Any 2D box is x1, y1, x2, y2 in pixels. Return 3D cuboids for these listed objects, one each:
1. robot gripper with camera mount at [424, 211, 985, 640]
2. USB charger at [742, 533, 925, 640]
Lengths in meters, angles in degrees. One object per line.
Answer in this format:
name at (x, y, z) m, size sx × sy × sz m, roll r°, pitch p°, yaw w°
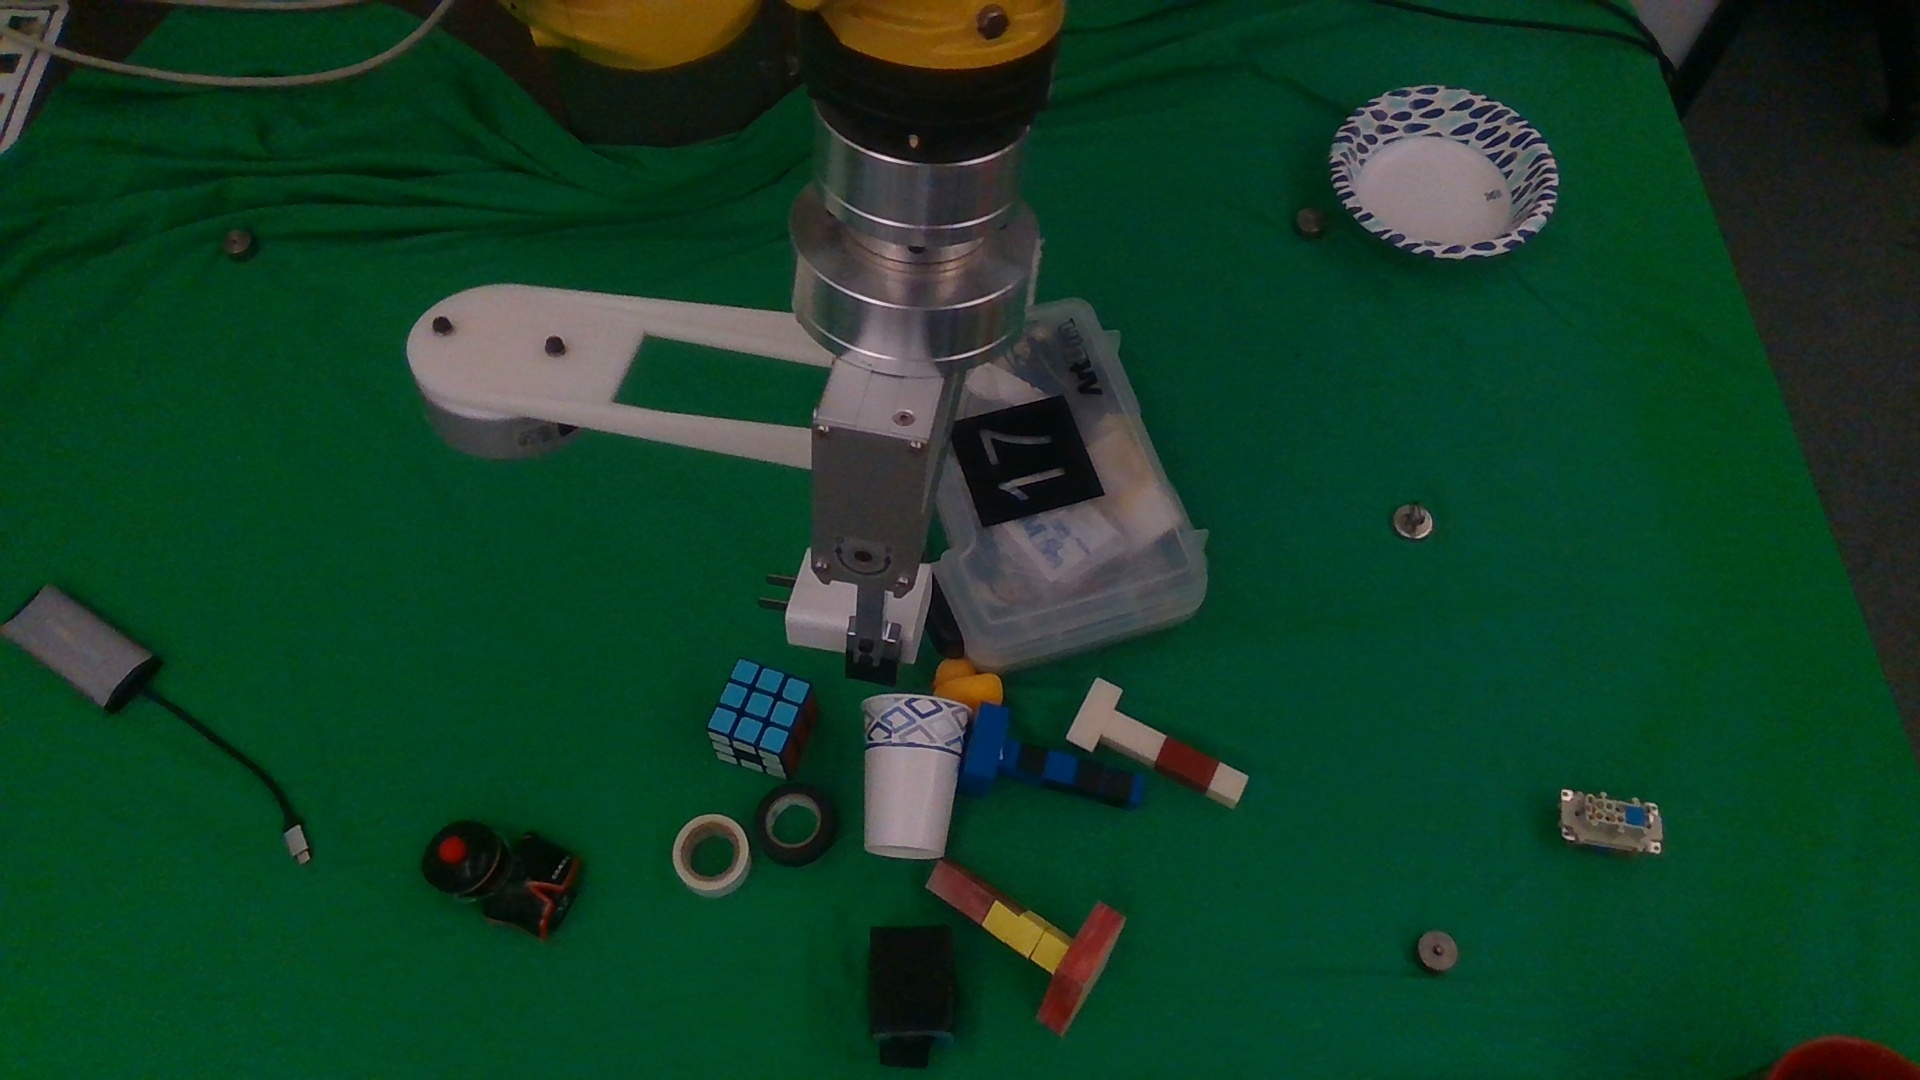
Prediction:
robot gripper with camera mount at (-0.103, -0.037, 0.523) m, size 0.193 × 0.158 × 0.119 m, roll 12°, pitch 54°, yaw 3°
USB charger at (-0.053, 0.019, 0.579) m, size 0.075 × 0.029 × 0.044 m, roll 2°, pitch 58°, yaw -8°
